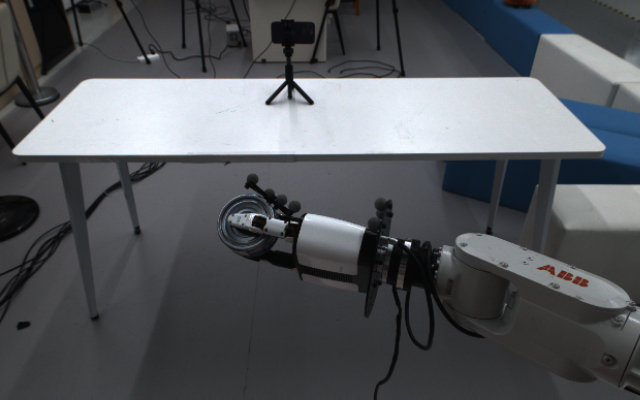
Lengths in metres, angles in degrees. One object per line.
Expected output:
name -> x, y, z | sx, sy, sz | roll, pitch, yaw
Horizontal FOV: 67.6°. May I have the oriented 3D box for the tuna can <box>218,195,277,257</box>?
tuna can -> -0.098, 0.042, 0.683 | 0.085, 0.034, 0.085 | -4, 69, 10
